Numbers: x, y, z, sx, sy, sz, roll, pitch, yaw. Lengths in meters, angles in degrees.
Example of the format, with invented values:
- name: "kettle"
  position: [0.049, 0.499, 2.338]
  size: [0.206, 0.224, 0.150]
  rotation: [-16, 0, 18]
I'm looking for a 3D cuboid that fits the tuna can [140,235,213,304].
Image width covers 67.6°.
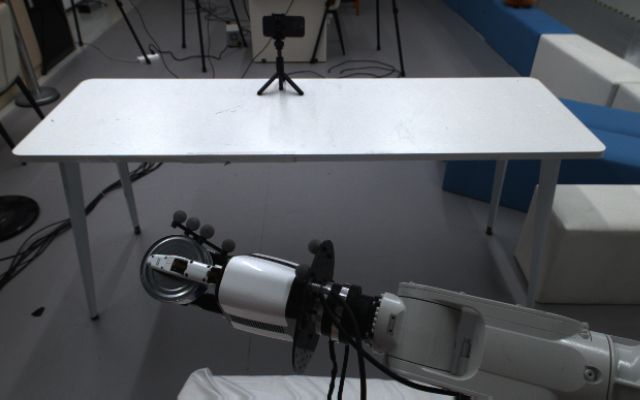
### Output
- name: "tuna can"
  position: [-0.179, 0.090, 0.615]
  size: [0.085, 0.034, 0.085]
  rotation: [-2, 71, 6]
